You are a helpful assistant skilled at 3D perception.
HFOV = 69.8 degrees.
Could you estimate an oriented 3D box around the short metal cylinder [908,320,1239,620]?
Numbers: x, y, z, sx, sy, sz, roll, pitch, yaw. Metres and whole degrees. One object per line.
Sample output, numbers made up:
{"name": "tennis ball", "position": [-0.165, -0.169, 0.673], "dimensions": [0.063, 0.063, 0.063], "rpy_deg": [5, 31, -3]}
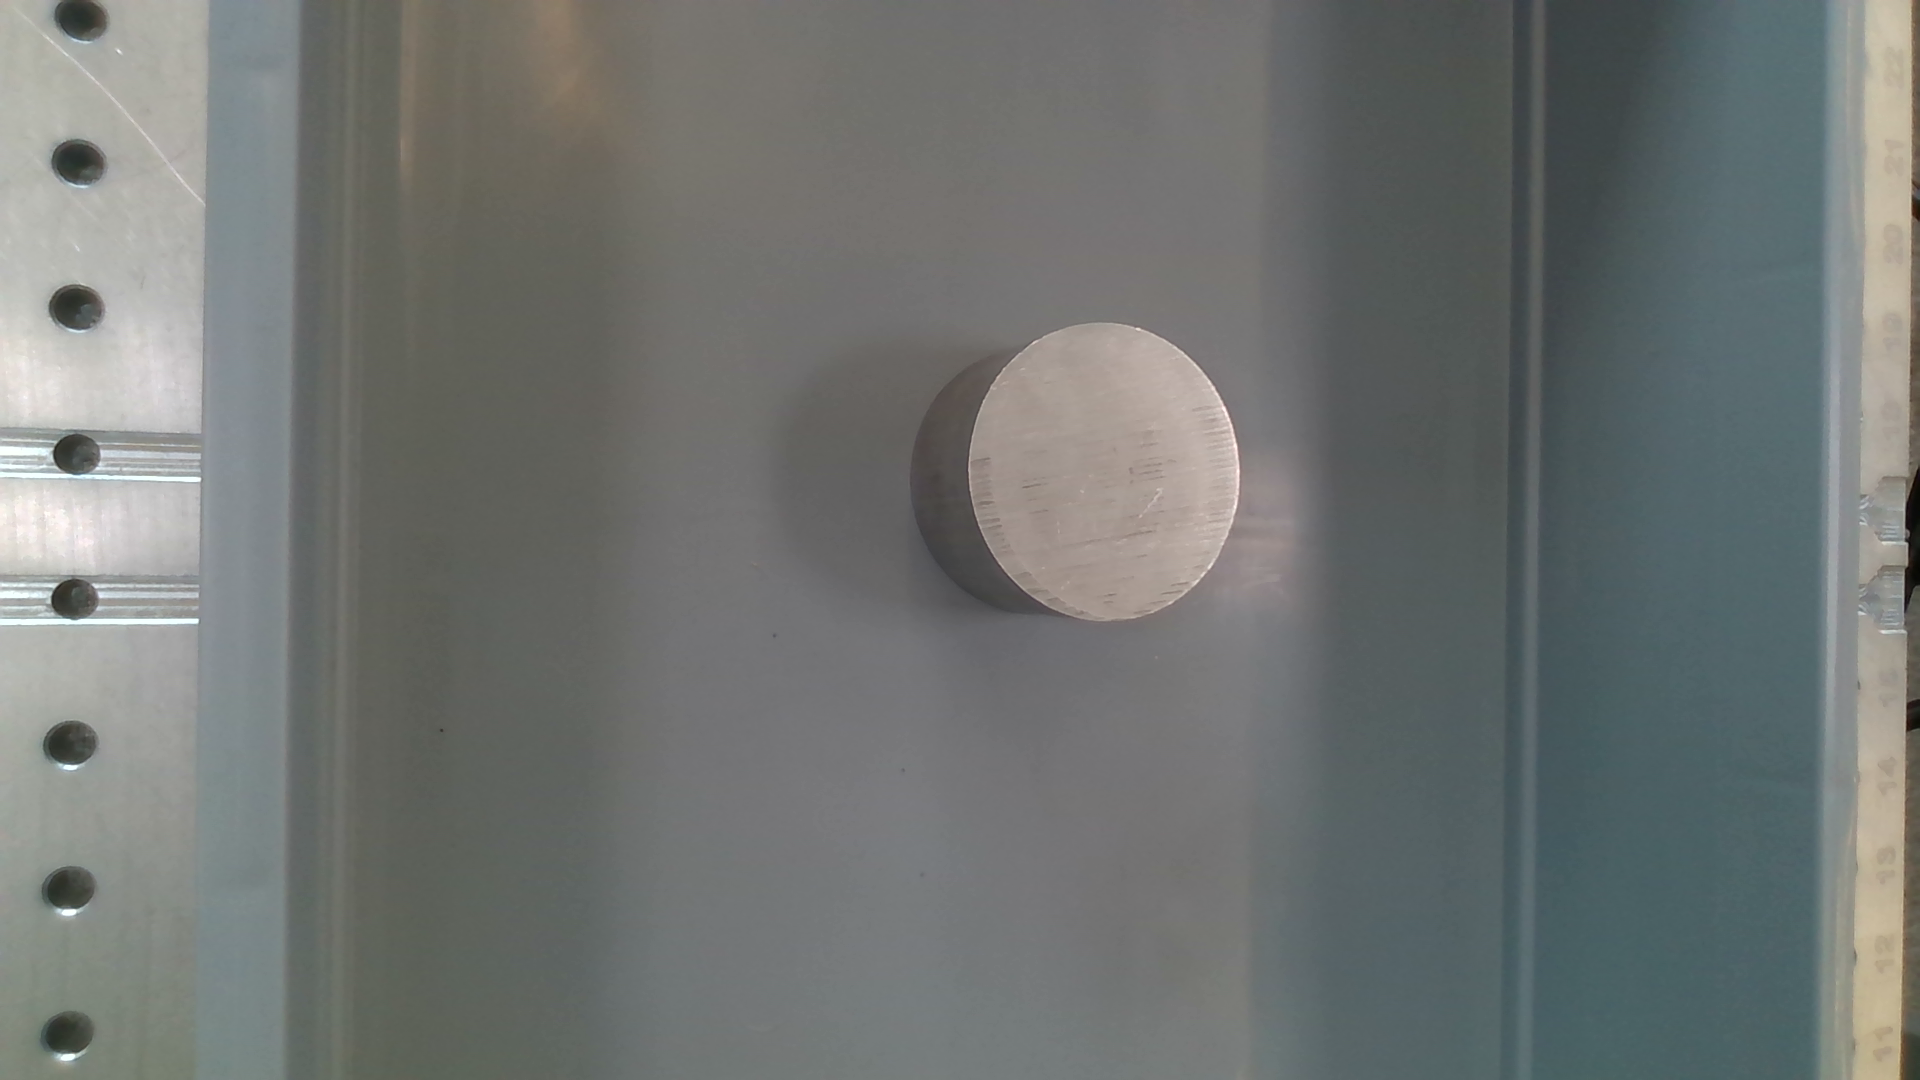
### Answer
{"name": "short metal cylinder", "position": [0.031, -0.018, 0.390], "dimensions": [0.080, 0.050, 0.080], "rpy_deg": [0, 90, -20]}
